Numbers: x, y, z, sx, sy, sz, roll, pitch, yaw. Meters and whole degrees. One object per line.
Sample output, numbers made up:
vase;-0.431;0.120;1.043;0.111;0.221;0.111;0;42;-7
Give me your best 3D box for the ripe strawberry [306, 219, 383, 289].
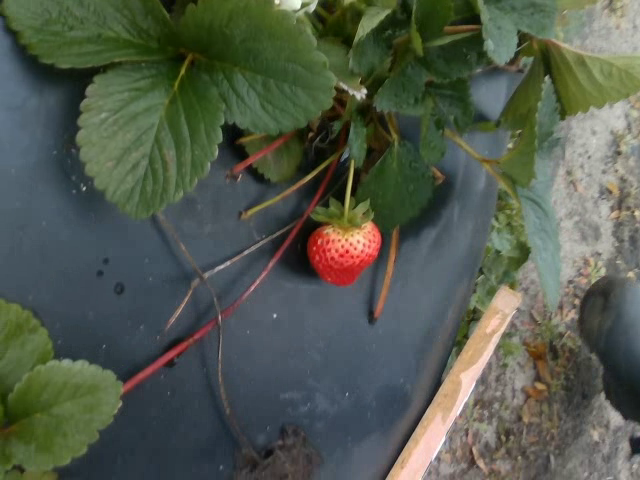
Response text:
ripe strawberry;0.019;0.012;0.396;0.050;0.064;0.061;23;47;22
